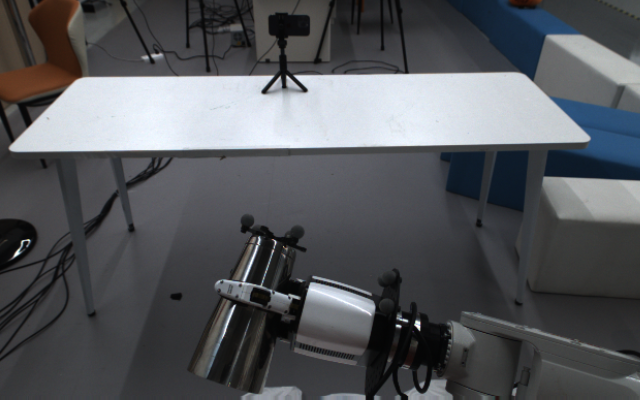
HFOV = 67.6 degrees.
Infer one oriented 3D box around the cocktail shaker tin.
[{"bbox_3d":[-0.085,0.135,0.587,0.093,0.093,0.170,13,71,15],"label":"cocktail shaker tin"}]
